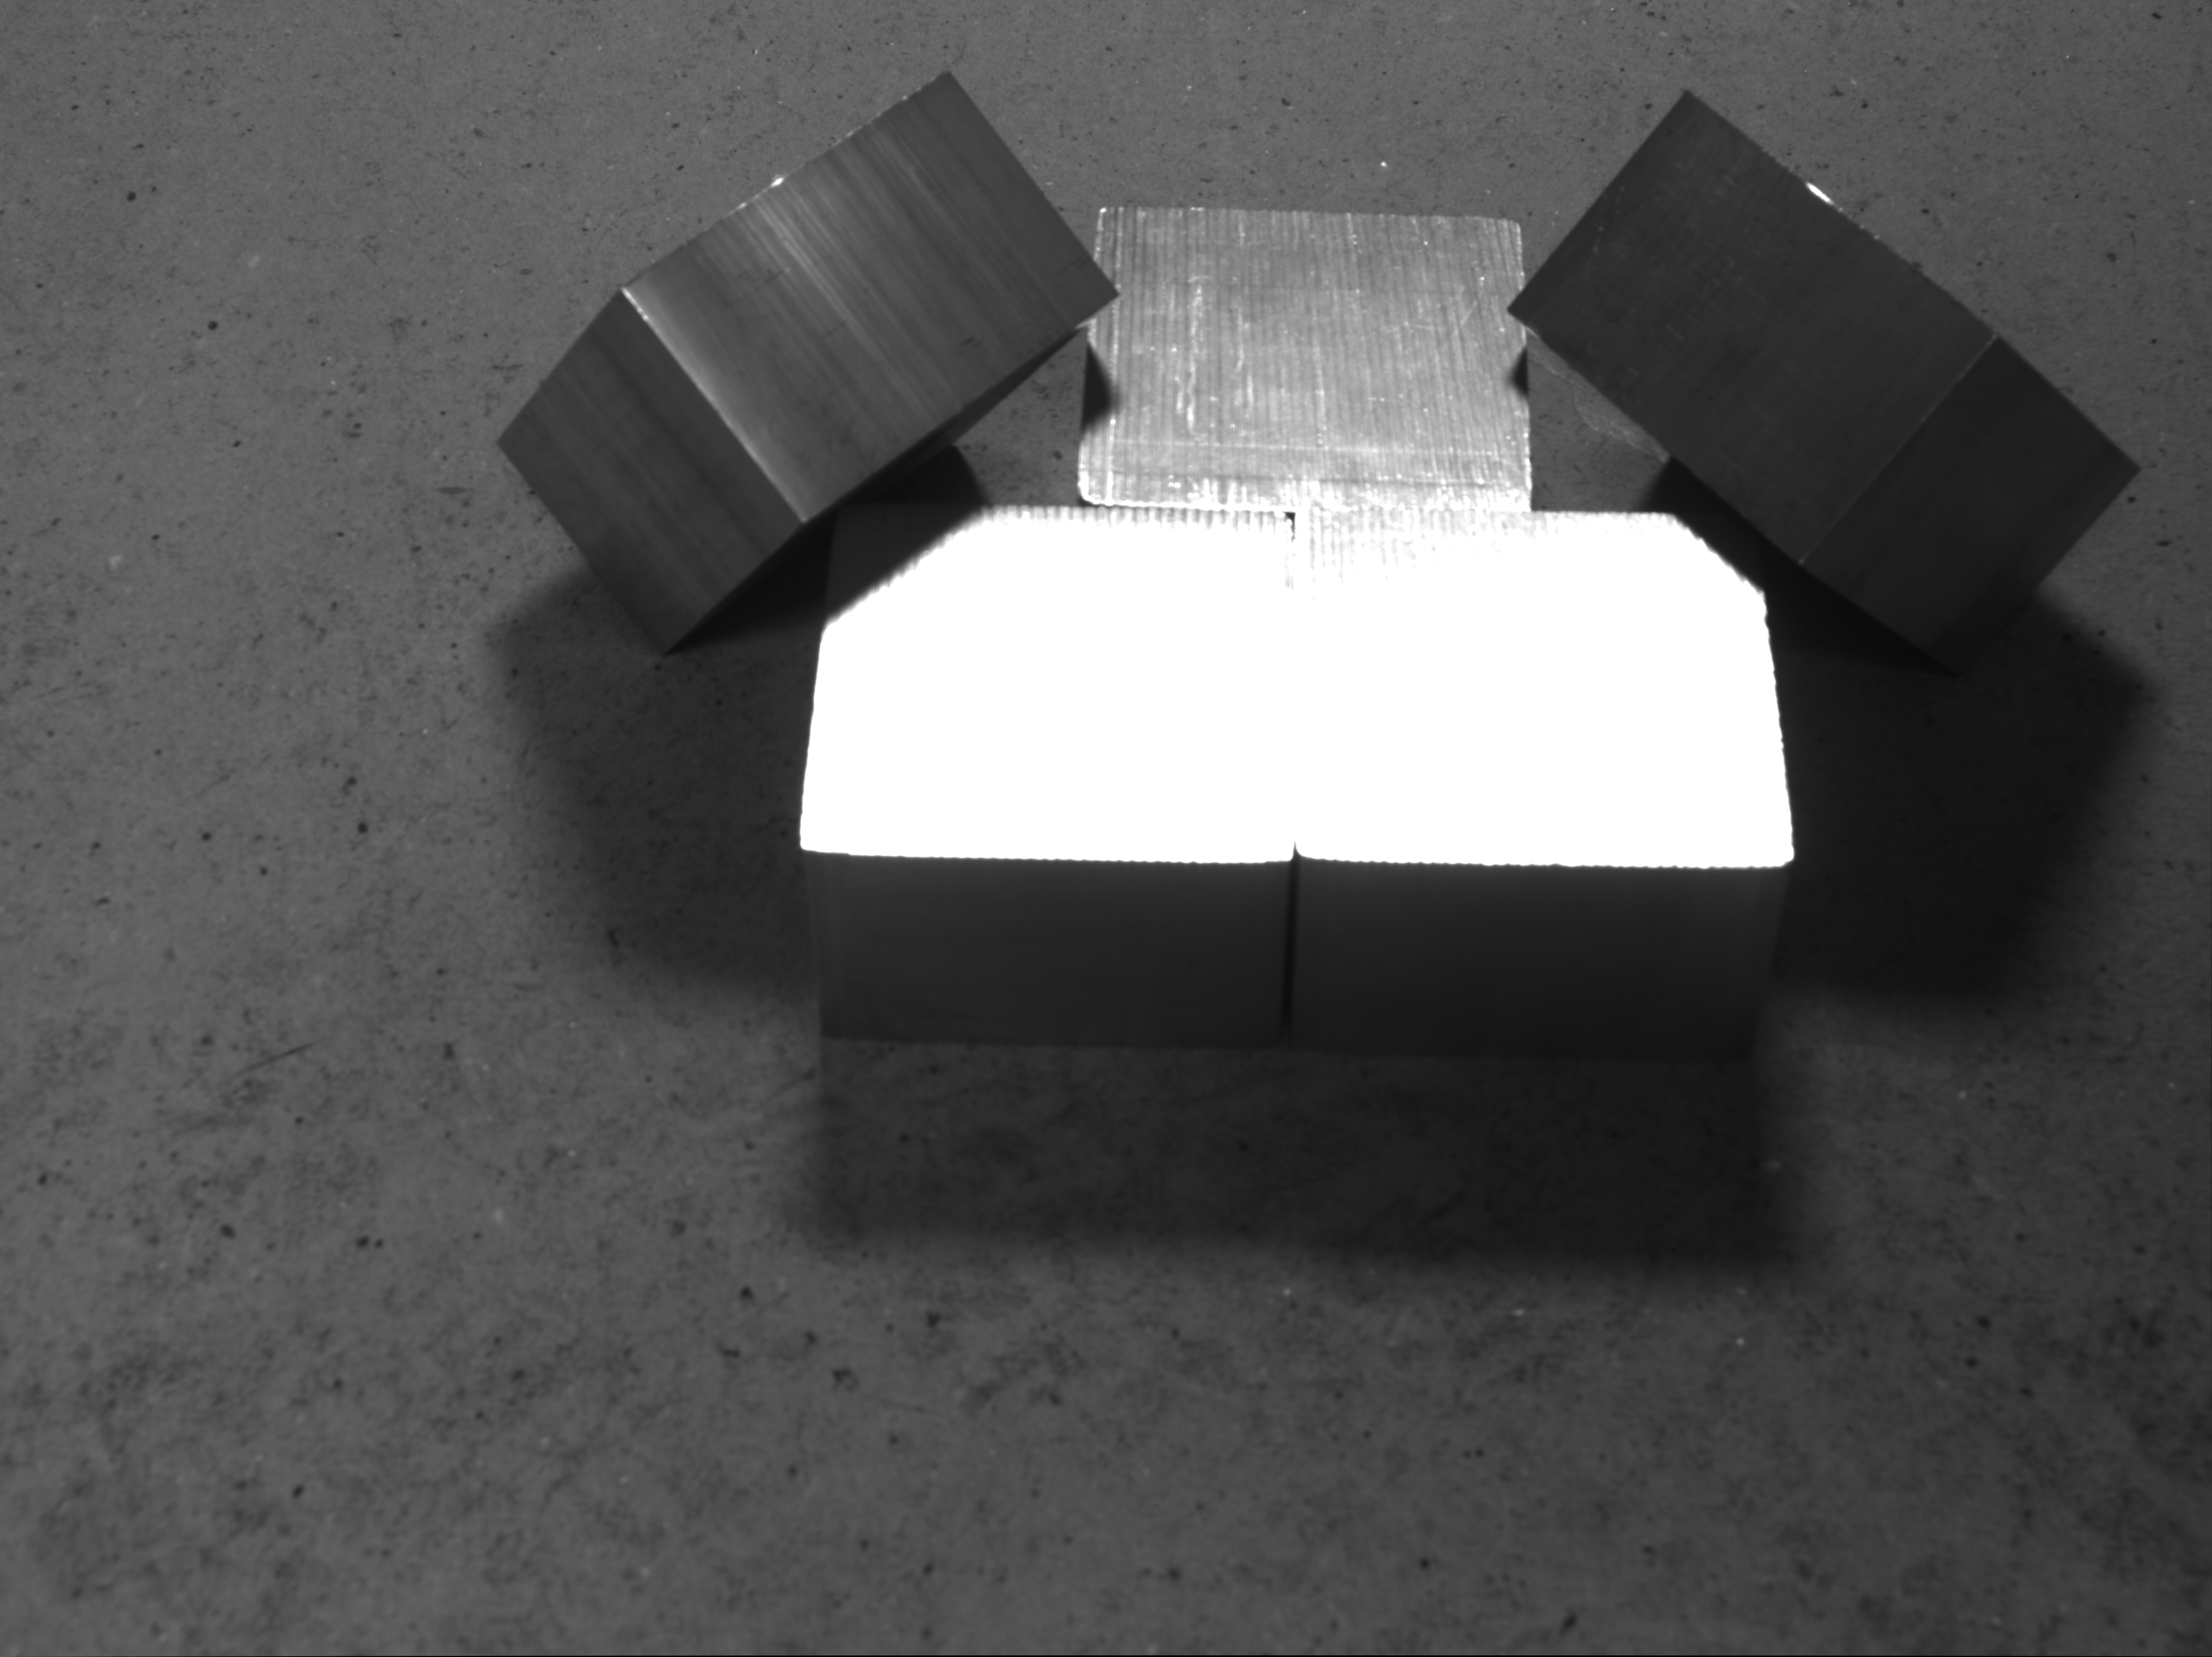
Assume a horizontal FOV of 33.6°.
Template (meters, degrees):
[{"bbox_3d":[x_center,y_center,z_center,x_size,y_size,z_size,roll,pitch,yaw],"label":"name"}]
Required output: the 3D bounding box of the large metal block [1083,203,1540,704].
[{"bbox_3d":[0.038,-0.070,0.686,0.080,0.050,0.080,2,50,2],"label":"large metal block"}]

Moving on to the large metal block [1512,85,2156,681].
[{"bbox_3d":[0.133,-0.080,0.666,0.050,0.080,0.080,-50,57,12],"label":"large metal block"}]

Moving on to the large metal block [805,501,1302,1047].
[{"bbox_3d":[-0.007,-0.010,0.634,0.080,0.050,0.080,1,50,1],"label":"large metal block"}]

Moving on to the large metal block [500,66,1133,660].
[{"bbox_3d":[-0.054,-0.083,0.668,0.080,0.080,0.050,-40,94,-28],"label":"large metal block"}]

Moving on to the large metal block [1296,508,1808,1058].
[{"bbox_3d":[0.073,-0.008,0.631,0.080,0.050,0.080,1,50,1],"label":"large metal block"}]
